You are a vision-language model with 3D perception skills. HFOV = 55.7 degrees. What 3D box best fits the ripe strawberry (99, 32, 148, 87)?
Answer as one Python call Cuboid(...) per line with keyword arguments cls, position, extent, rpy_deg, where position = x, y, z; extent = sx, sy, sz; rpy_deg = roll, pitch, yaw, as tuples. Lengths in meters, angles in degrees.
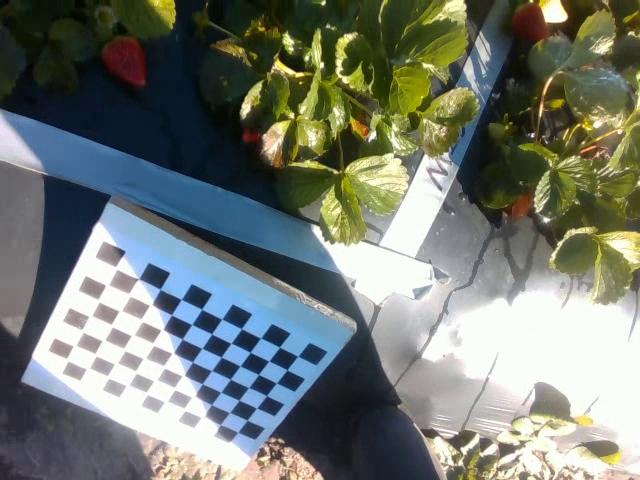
Cuboid(cls="ripe strawberry", position=(-0.191, -0.172, 0.592), extent=(0.045, 0.059, 0.042), rpy_deg=(-27, 8, 14))
